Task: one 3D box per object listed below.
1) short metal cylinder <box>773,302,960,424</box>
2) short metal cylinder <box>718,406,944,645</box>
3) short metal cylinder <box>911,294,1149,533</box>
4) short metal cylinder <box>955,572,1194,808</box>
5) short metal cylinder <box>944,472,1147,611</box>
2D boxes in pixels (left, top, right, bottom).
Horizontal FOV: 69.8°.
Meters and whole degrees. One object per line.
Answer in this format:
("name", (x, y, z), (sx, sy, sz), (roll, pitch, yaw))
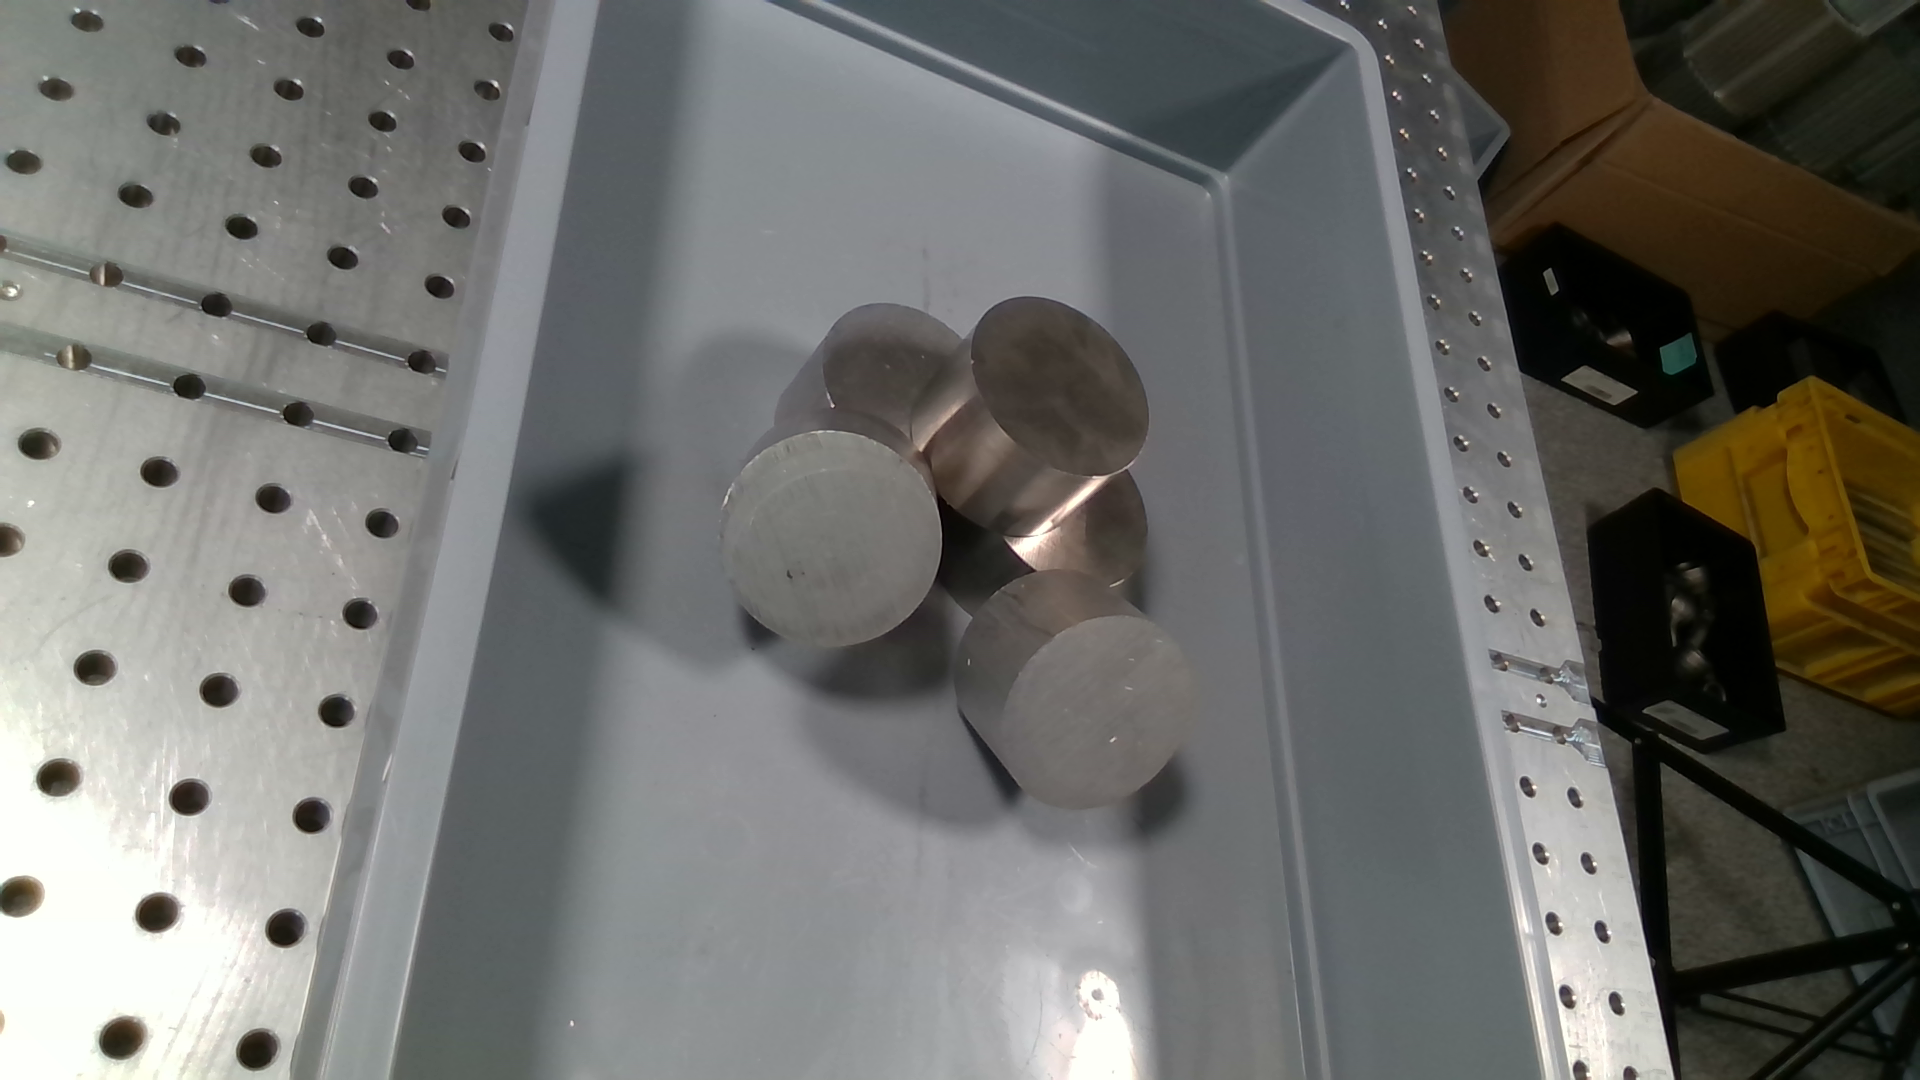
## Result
("short metal cylinder", (-0.032, -0.052, 0.578), (0.080, 0.050, 0.080), (14, 59, -25))
("short metal cylinder", (-0.047, -0.007, 0.515), (0.080, 0.080, 0.050), (35, 12, -11))
("short metal cylinder", (0.028, -0.050, 0.546), (0.080, 0.050, 0.080), (14, 59, -25))
("short metal cylinder", (0.044, 0.057, 0.538), (0.080, 0.050, 0.080), (-8, 111, -20))
("short metal cylinder", (0.033, -0.006, 0.591), (0.080, 0.050, 0.080), (14, 59, -25))
